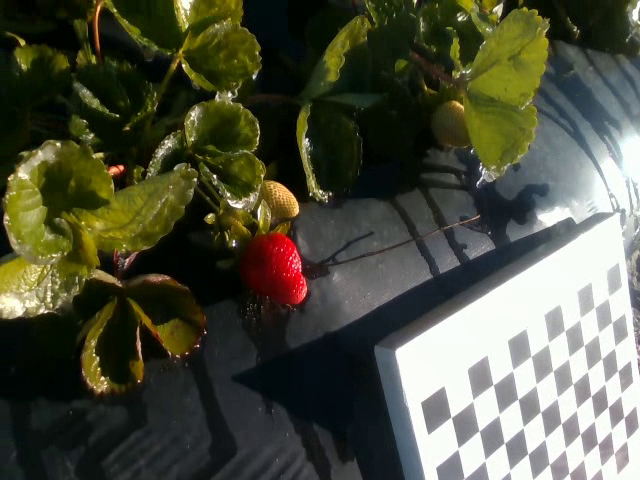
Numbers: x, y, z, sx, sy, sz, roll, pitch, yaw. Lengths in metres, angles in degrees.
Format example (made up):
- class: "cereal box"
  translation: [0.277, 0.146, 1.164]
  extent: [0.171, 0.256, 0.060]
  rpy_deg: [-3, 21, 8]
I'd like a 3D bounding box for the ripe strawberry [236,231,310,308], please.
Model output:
- class: "ripe strawberry"
  translation: [-0.016, 0.016, 0.278]
  extent: [0.039, 0.040, 0.039]
  rpy_deg: [-30, 46, -22]
